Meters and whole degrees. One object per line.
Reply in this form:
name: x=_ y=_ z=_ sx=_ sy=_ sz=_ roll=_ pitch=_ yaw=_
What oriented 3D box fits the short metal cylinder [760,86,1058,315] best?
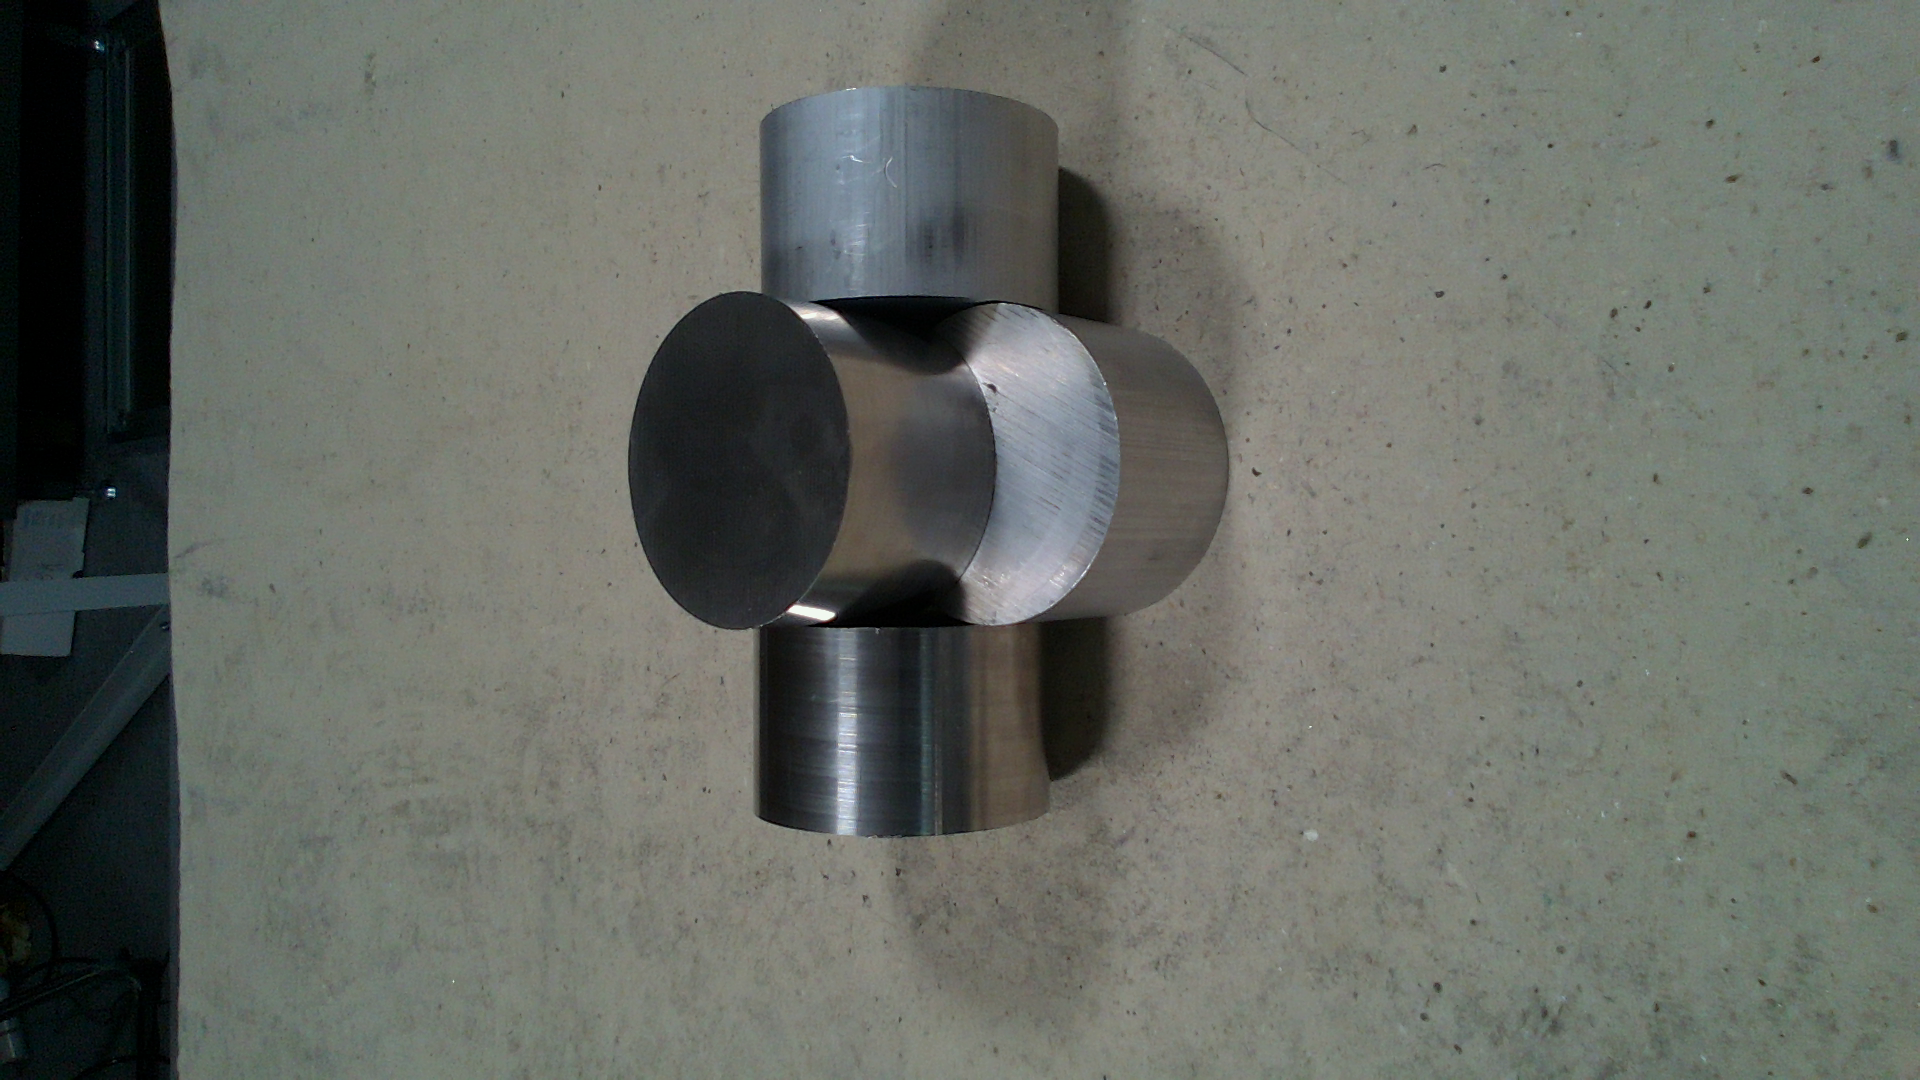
short metal cylinder: x=-0.013 y=-0.084 z=0.371 sx=0.080 sy=0.080 sz=0.050 roll=0 pitch=90 yaw=40

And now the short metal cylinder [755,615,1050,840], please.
short metal cylinder: x=-0.016 y=0.047 z=0.373 sx=0.080 sy=0.080 sz=0.050 roll=0 pitch=90 yaw=40

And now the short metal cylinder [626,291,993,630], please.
short metal cylinder: x=-0.039 y=-0.019 z=0.344 sx=0.080 sy=0.050 sz=0.080 roll=0 pitch=90 yaw=40

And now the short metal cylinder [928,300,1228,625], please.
short metal cylinder: x=0.022 y=-0.019 z=0.360 sx=0.080 sy=0.050 sz=0.080 roll=0 pitch=90 yaw=40

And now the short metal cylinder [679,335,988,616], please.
short metal cylinder: x=-0.038 y=-0.018 z=0.411 sx=0.080 sy=0.050 sz=0.080 roll=0 pitch=90 yaw=40
